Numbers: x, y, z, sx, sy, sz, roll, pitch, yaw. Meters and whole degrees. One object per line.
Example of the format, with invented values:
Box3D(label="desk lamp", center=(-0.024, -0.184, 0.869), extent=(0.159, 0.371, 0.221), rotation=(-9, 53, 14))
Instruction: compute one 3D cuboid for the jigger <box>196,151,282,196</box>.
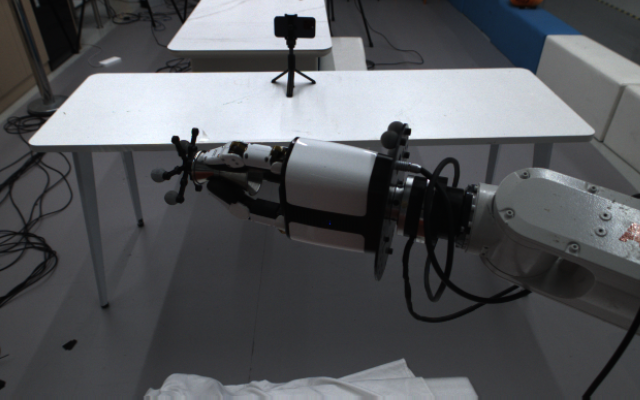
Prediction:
Box3D(label="jigger", center=(-0.096, -0.035, 0.538), extent=(0.071, 0.043, 0.043), rotation=(10, 35, 15))
